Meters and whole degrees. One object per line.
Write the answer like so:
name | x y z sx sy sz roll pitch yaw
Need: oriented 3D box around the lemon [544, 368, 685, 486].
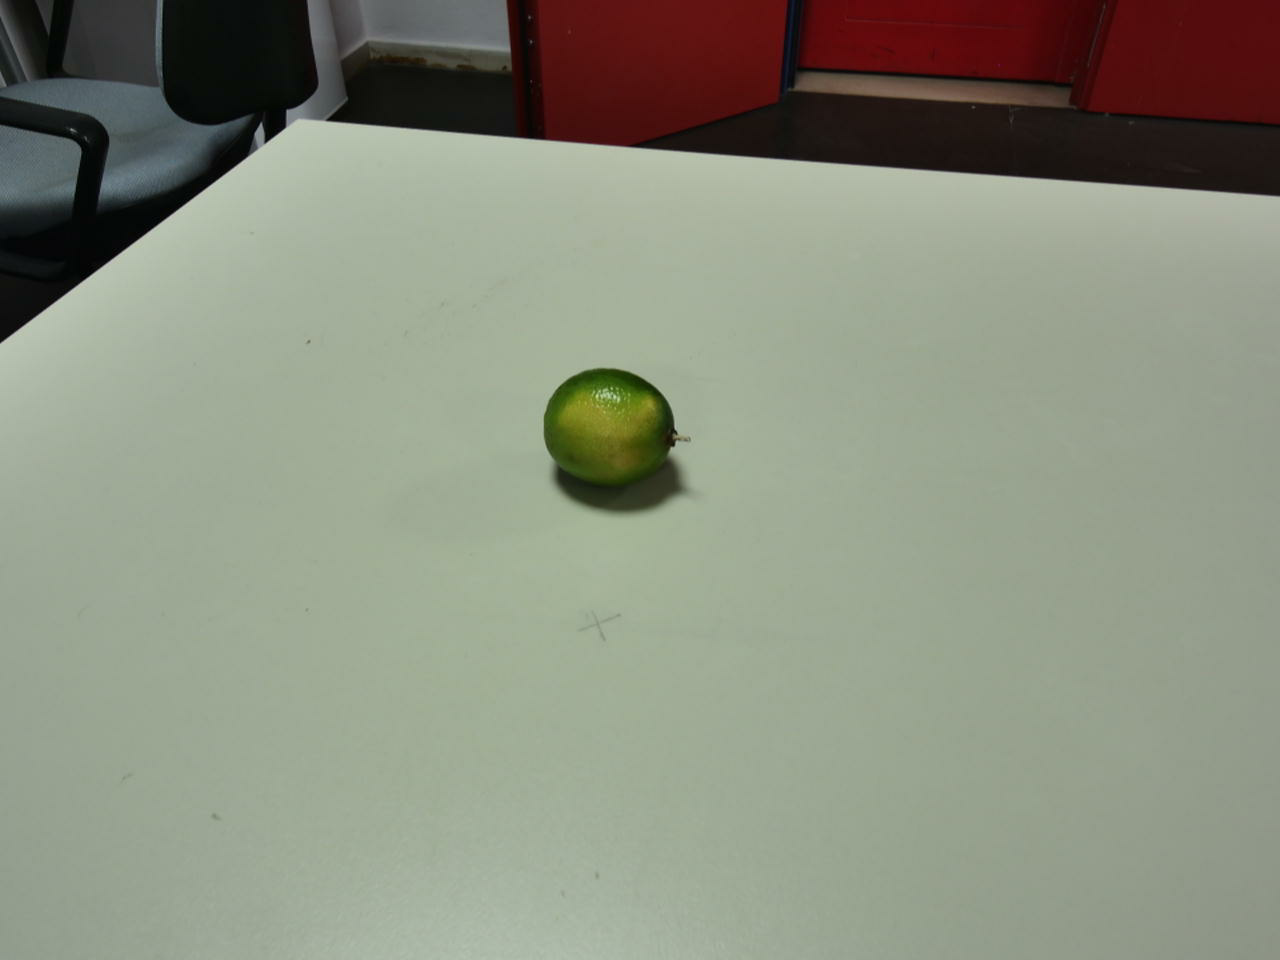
lemon | -0.014 -0.023 0.434 0.054 0.050 0.055 -17 41 -20
